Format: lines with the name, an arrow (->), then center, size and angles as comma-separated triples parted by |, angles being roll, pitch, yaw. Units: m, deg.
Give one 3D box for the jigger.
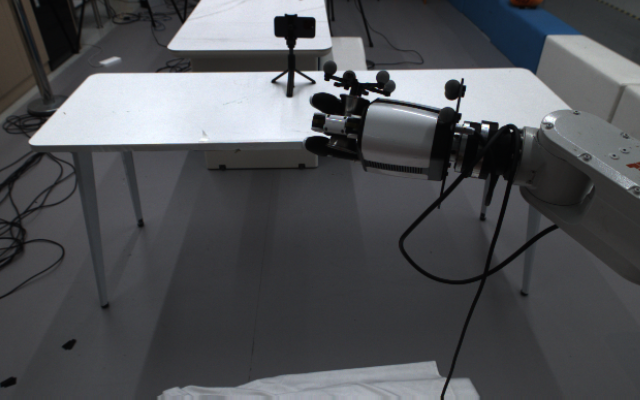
jigger -> 0.039, -0.097, 0.623 | 0.043, 0.071, 0.043 | 14, 1, 0
